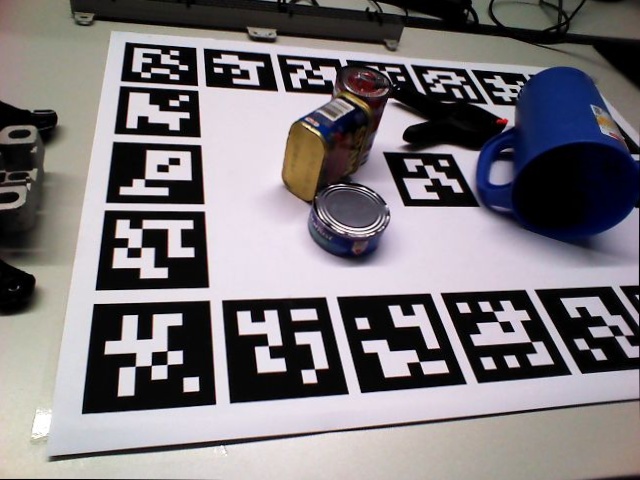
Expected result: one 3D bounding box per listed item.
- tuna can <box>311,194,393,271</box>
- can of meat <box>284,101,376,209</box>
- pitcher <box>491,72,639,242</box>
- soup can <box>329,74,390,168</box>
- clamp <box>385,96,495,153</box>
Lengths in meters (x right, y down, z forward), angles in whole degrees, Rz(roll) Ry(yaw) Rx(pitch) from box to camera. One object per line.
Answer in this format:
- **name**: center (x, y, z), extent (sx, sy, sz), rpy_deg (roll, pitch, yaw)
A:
- **tuna can**: center (0.034, -0.009, 0.566), extent (0.086, 0.034, 0.085), rpy_deg (7, 50, -8)
- **can of meat**: center (0.009, -0.093, 0.585), extent (0.058, 0.102, 0.083), rpy_deg (41, 56, 20)
- **pitcher**: center (0.315, -0.119, 0.660), extent (0.190, 0.133, 0.241), rpy_deg (0, 38, 16)
- **soup can**: center (0.042, -0.143, 0.643), extent (0.068, 0.102, 0.067), rpy_deg (5, 51, -6)
- **clamp**: center (0.176, -0.161, 0.748), extent (0.165, 0.037, 0.121), rpy_deg (3, 44, -15)
